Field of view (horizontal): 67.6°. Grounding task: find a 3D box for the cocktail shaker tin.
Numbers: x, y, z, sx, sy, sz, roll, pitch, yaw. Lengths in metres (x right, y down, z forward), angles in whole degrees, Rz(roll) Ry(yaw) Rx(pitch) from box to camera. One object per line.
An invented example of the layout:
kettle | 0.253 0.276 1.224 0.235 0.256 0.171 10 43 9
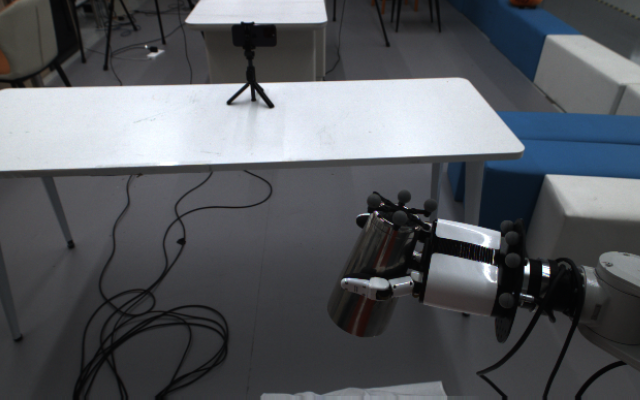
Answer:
cocktail shaker tin | 0.079 0.088 0.650 0.093 0.170 0.093 12 29 -7
